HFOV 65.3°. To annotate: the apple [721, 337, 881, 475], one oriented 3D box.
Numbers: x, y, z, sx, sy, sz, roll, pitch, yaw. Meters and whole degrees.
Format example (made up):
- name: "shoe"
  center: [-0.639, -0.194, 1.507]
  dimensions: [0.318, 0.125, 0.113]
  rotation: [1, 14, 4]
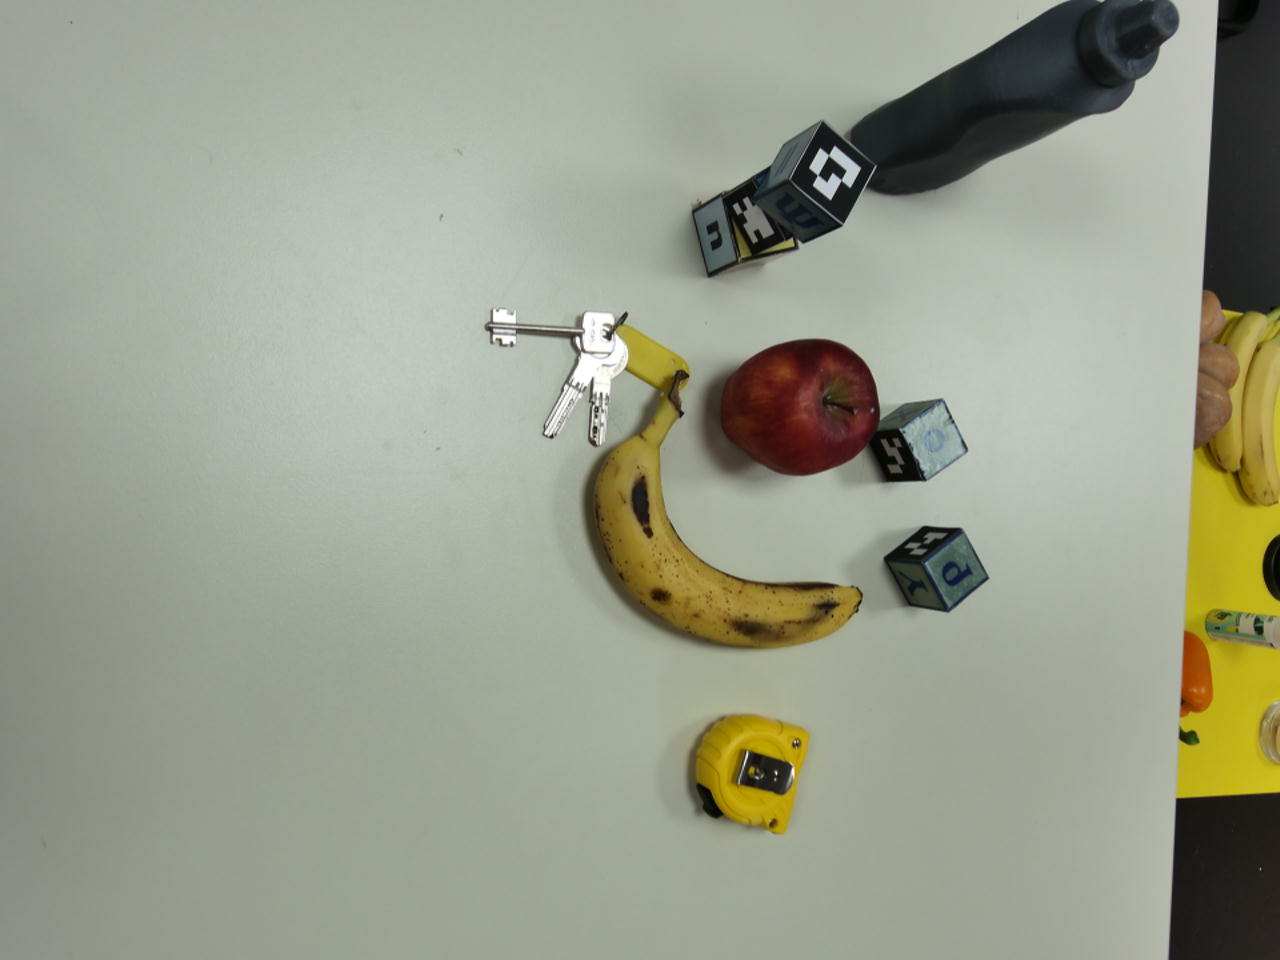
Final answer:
- name: "apple"
  center: [0.091, -0.041, 0.557]
  dimensions: [0.083, 0.090, 0.083]
  rotation: [0, 90, -22]
